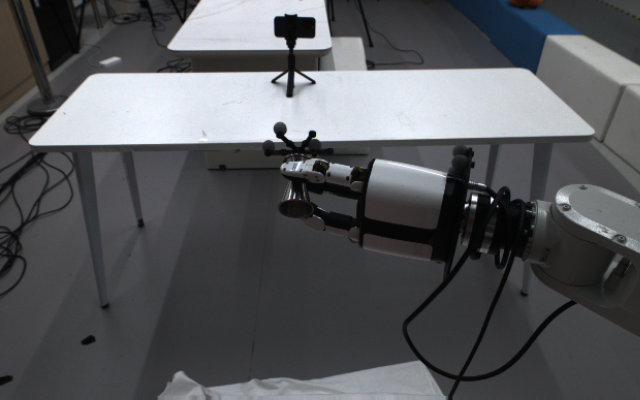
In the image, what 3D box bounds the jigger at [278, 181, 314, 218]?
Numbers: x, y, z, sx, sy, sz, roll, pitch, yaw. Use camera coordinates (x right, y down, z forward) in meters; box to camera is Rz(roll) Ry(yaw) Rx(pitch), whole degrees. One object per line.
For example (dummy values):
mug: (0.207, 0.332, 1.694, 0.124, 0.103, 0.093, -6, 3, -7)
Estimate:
jigger: (-0.028, -0.021, 0.590, 0.043, 0.043, 0.071, 2, 59, -1)
